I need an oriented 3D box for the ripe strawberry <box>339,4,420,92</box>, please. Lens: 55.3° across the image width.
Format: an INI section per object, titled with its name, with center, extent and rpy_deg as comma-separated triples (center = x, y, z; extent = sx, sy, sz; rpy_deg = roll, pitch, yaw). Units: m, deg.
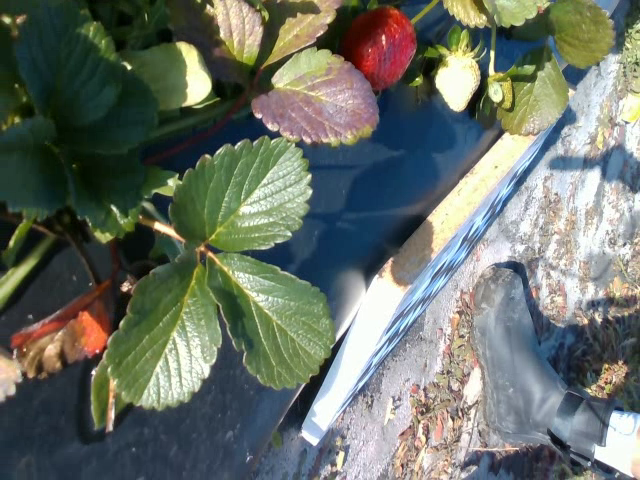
[ripe strawberry]
center = 0.022, -0.079, 0.243
extent = 0.036, 0.044, 0.053
rpy_deg = 34, 26, 8
